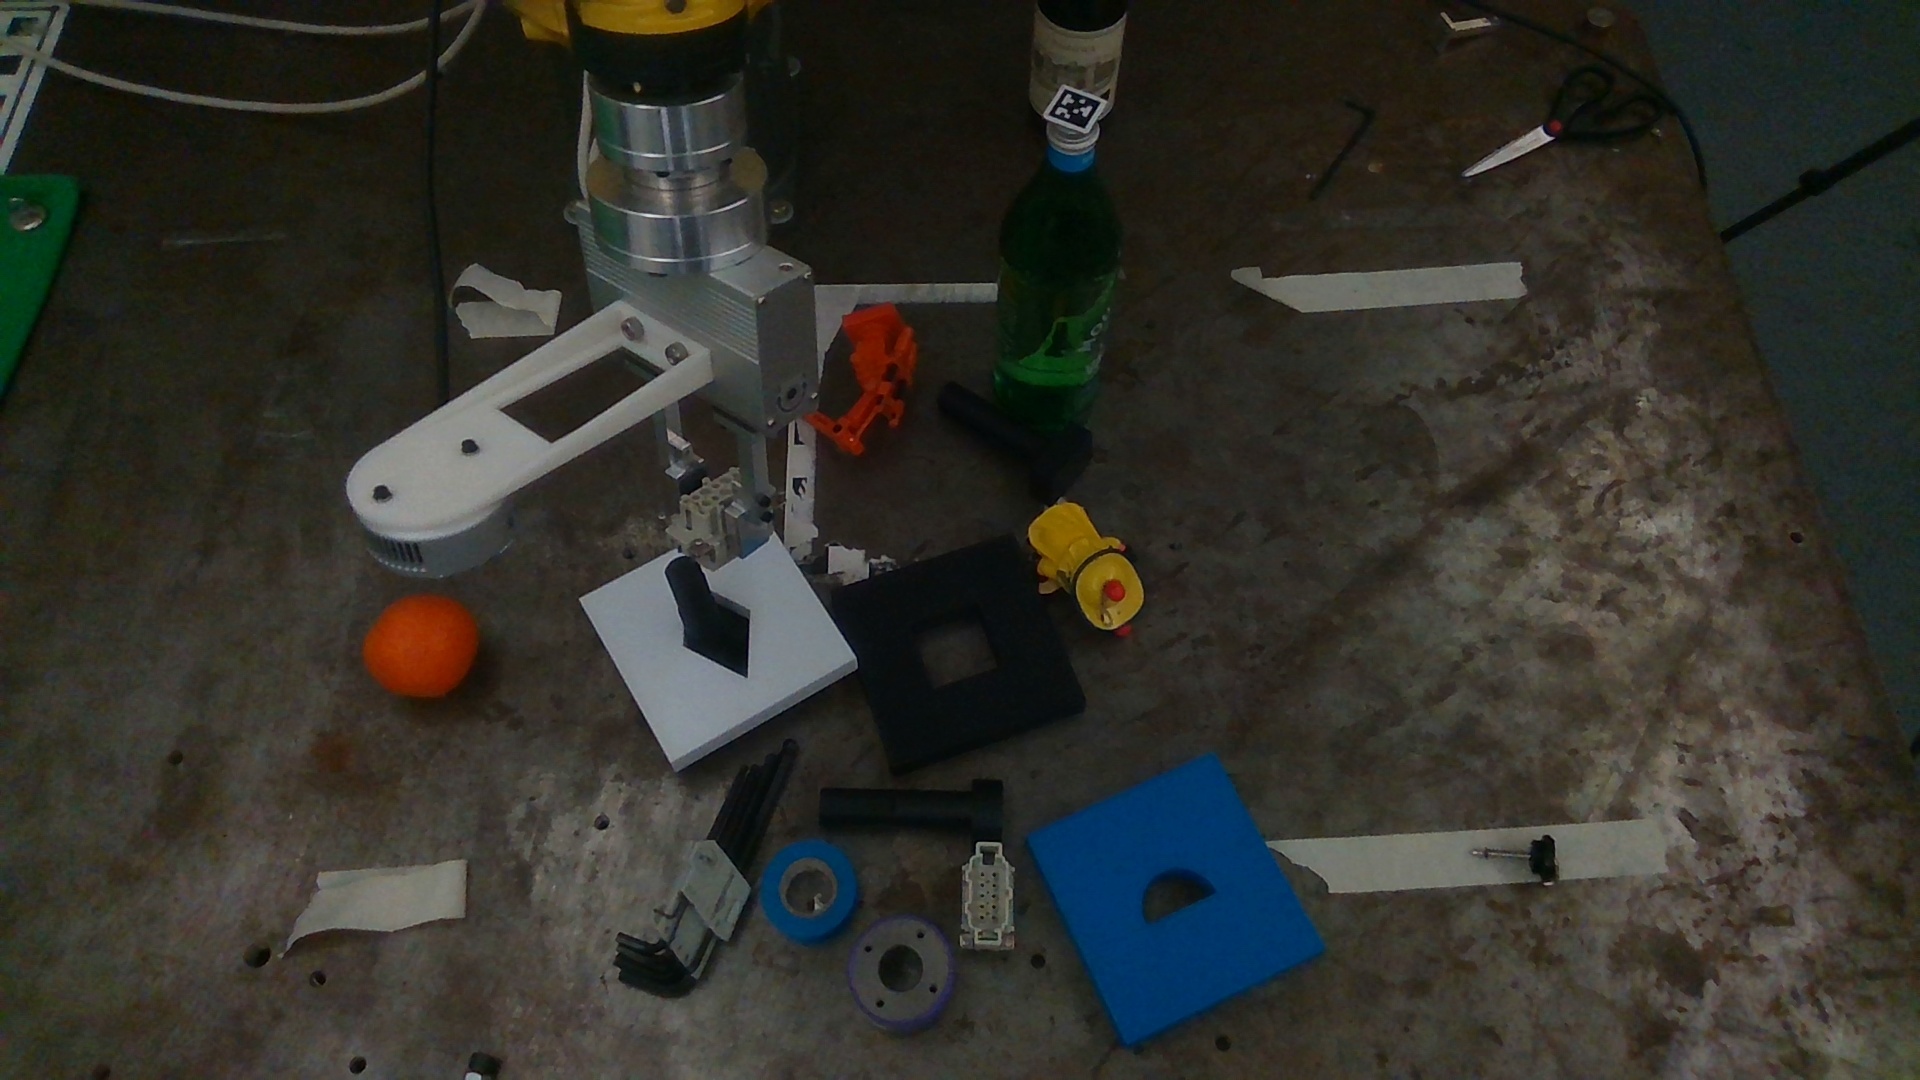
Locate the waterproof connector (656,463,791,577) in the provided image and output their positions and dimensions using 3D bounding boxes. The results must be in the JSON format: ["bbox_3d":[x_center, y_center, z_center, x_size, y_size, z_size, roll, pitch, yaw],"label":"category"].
[{"bbox_3d":[-0.124,-0.013,0.723,0.037,0.038,0.069,35,51,22],"label":"waterproof connector"}]
